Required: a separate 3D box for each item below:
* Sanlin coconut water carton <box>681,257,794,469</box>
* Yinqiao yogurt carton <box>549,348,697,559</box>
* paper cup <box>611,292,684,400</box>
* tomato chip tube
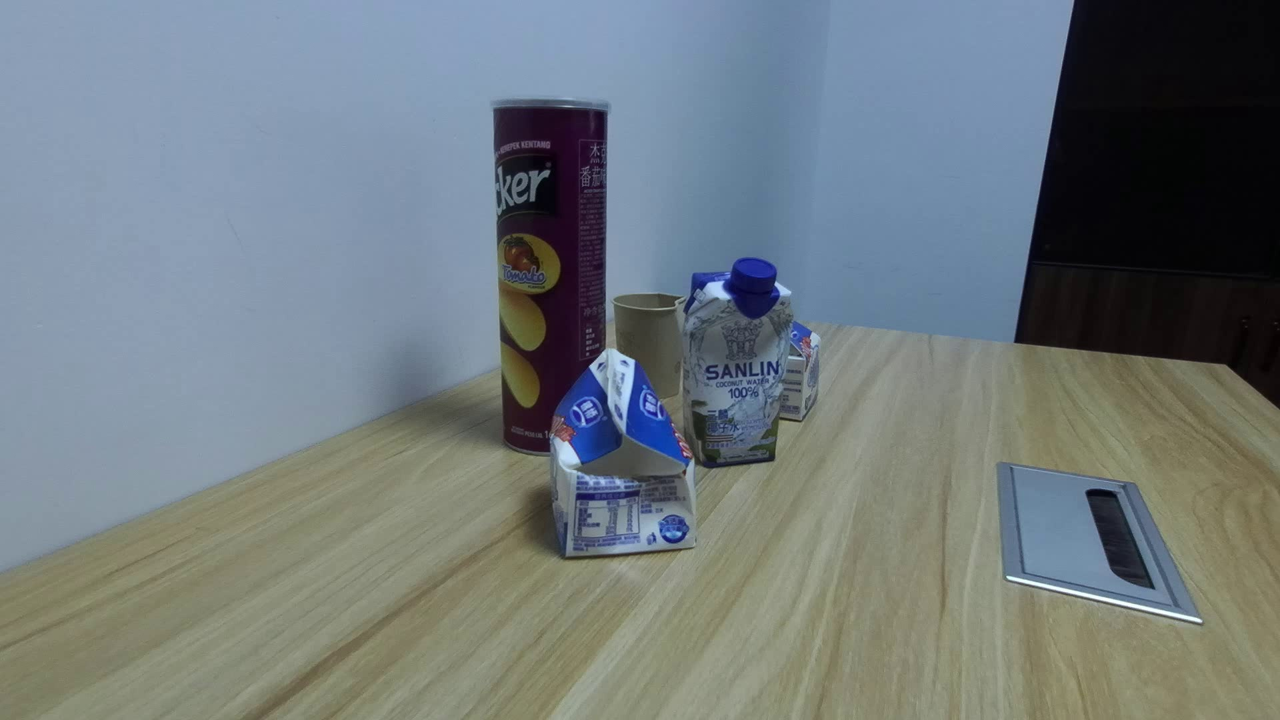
[{"bbox_3d":[0.064,0.000,0.481,0.078,0.142,0.057,-4,22,-18],"label":"Sanlin coconut water carton"},{"bbox_3d":[-0.011,0.046,0.394,0.077,0.093,0.083,-2,17,-11],"label":"Yinqiao yogurt carton"},{"bbox_3d":[0.009,-0.013,0.625,0.069,0.081,0.073,-15,21,-43],"label":"paper cup"},{"bbox_3d":[-0.060,-0.055,0.496,0.078,0.234,0.078,1,15,0],"label":"tomato chip tube"}]
